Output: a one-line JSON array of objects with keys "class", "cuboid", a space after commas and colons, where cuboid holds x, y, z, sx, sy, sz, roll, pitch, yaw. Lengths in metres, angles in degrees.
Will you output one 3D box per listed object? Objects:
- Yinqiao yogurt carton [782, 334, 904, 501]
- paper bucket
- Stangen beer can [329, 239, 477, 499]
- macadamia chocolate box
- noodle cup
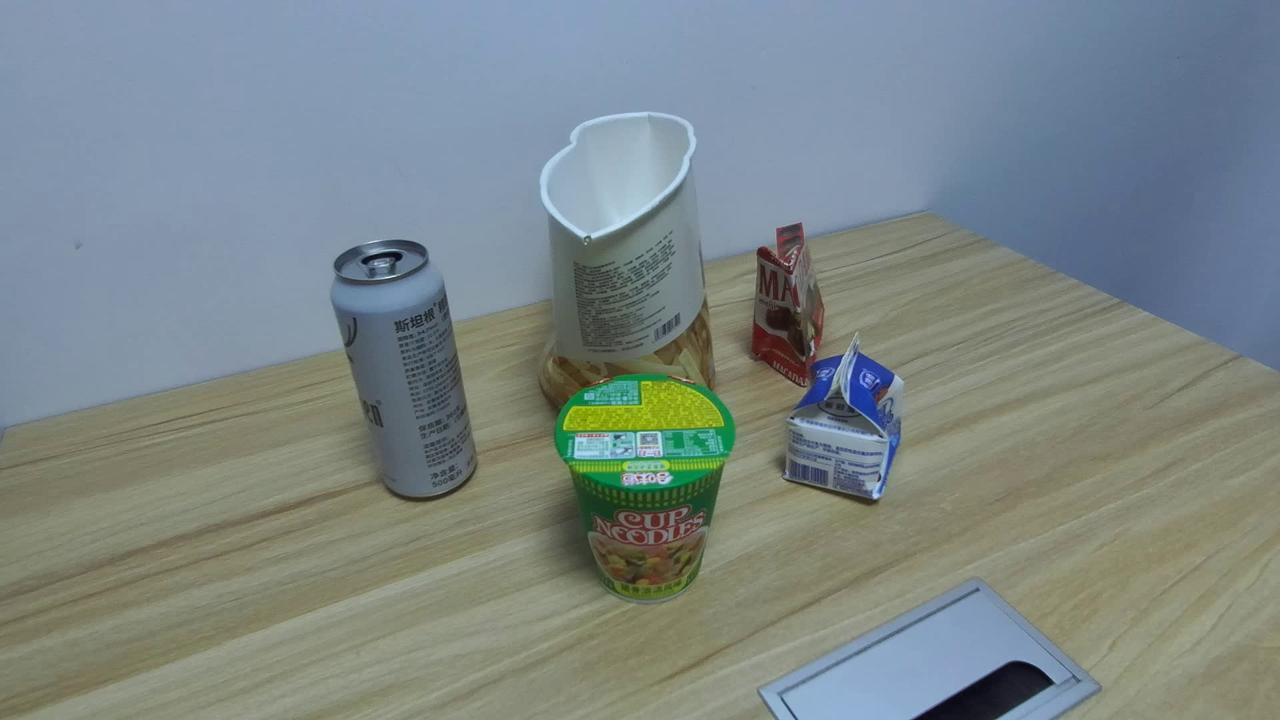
[{"class": "Yinqiao yogurt carton", "cuboid": [0.140, 0.035, 0.487, 0.071, 0.094, 0.077, 9, 34, 26]}, {"class": "paper bucket", "cuboid": [-0.010, -0.064, 0.542, 0.148, 0.199, 0.217, -13, 35, -17]}, {"class": "Stangen beer can", "cuboid": [-0.152, 0.010, 0.464, 0.067, 0.171, 0.067, -1, 33, 1]}, {"class": "macadamia chocolate box", "cuboid": [0.132, -0.058, 0.608, 0.056, 0.112, 0.126, 10, 35, 17]}, {"class": "noodle cup", "cuboid": [0.005, 0.079, 0.408, 0.097, 0.110, 0.097, -2, 35, 1]}]
